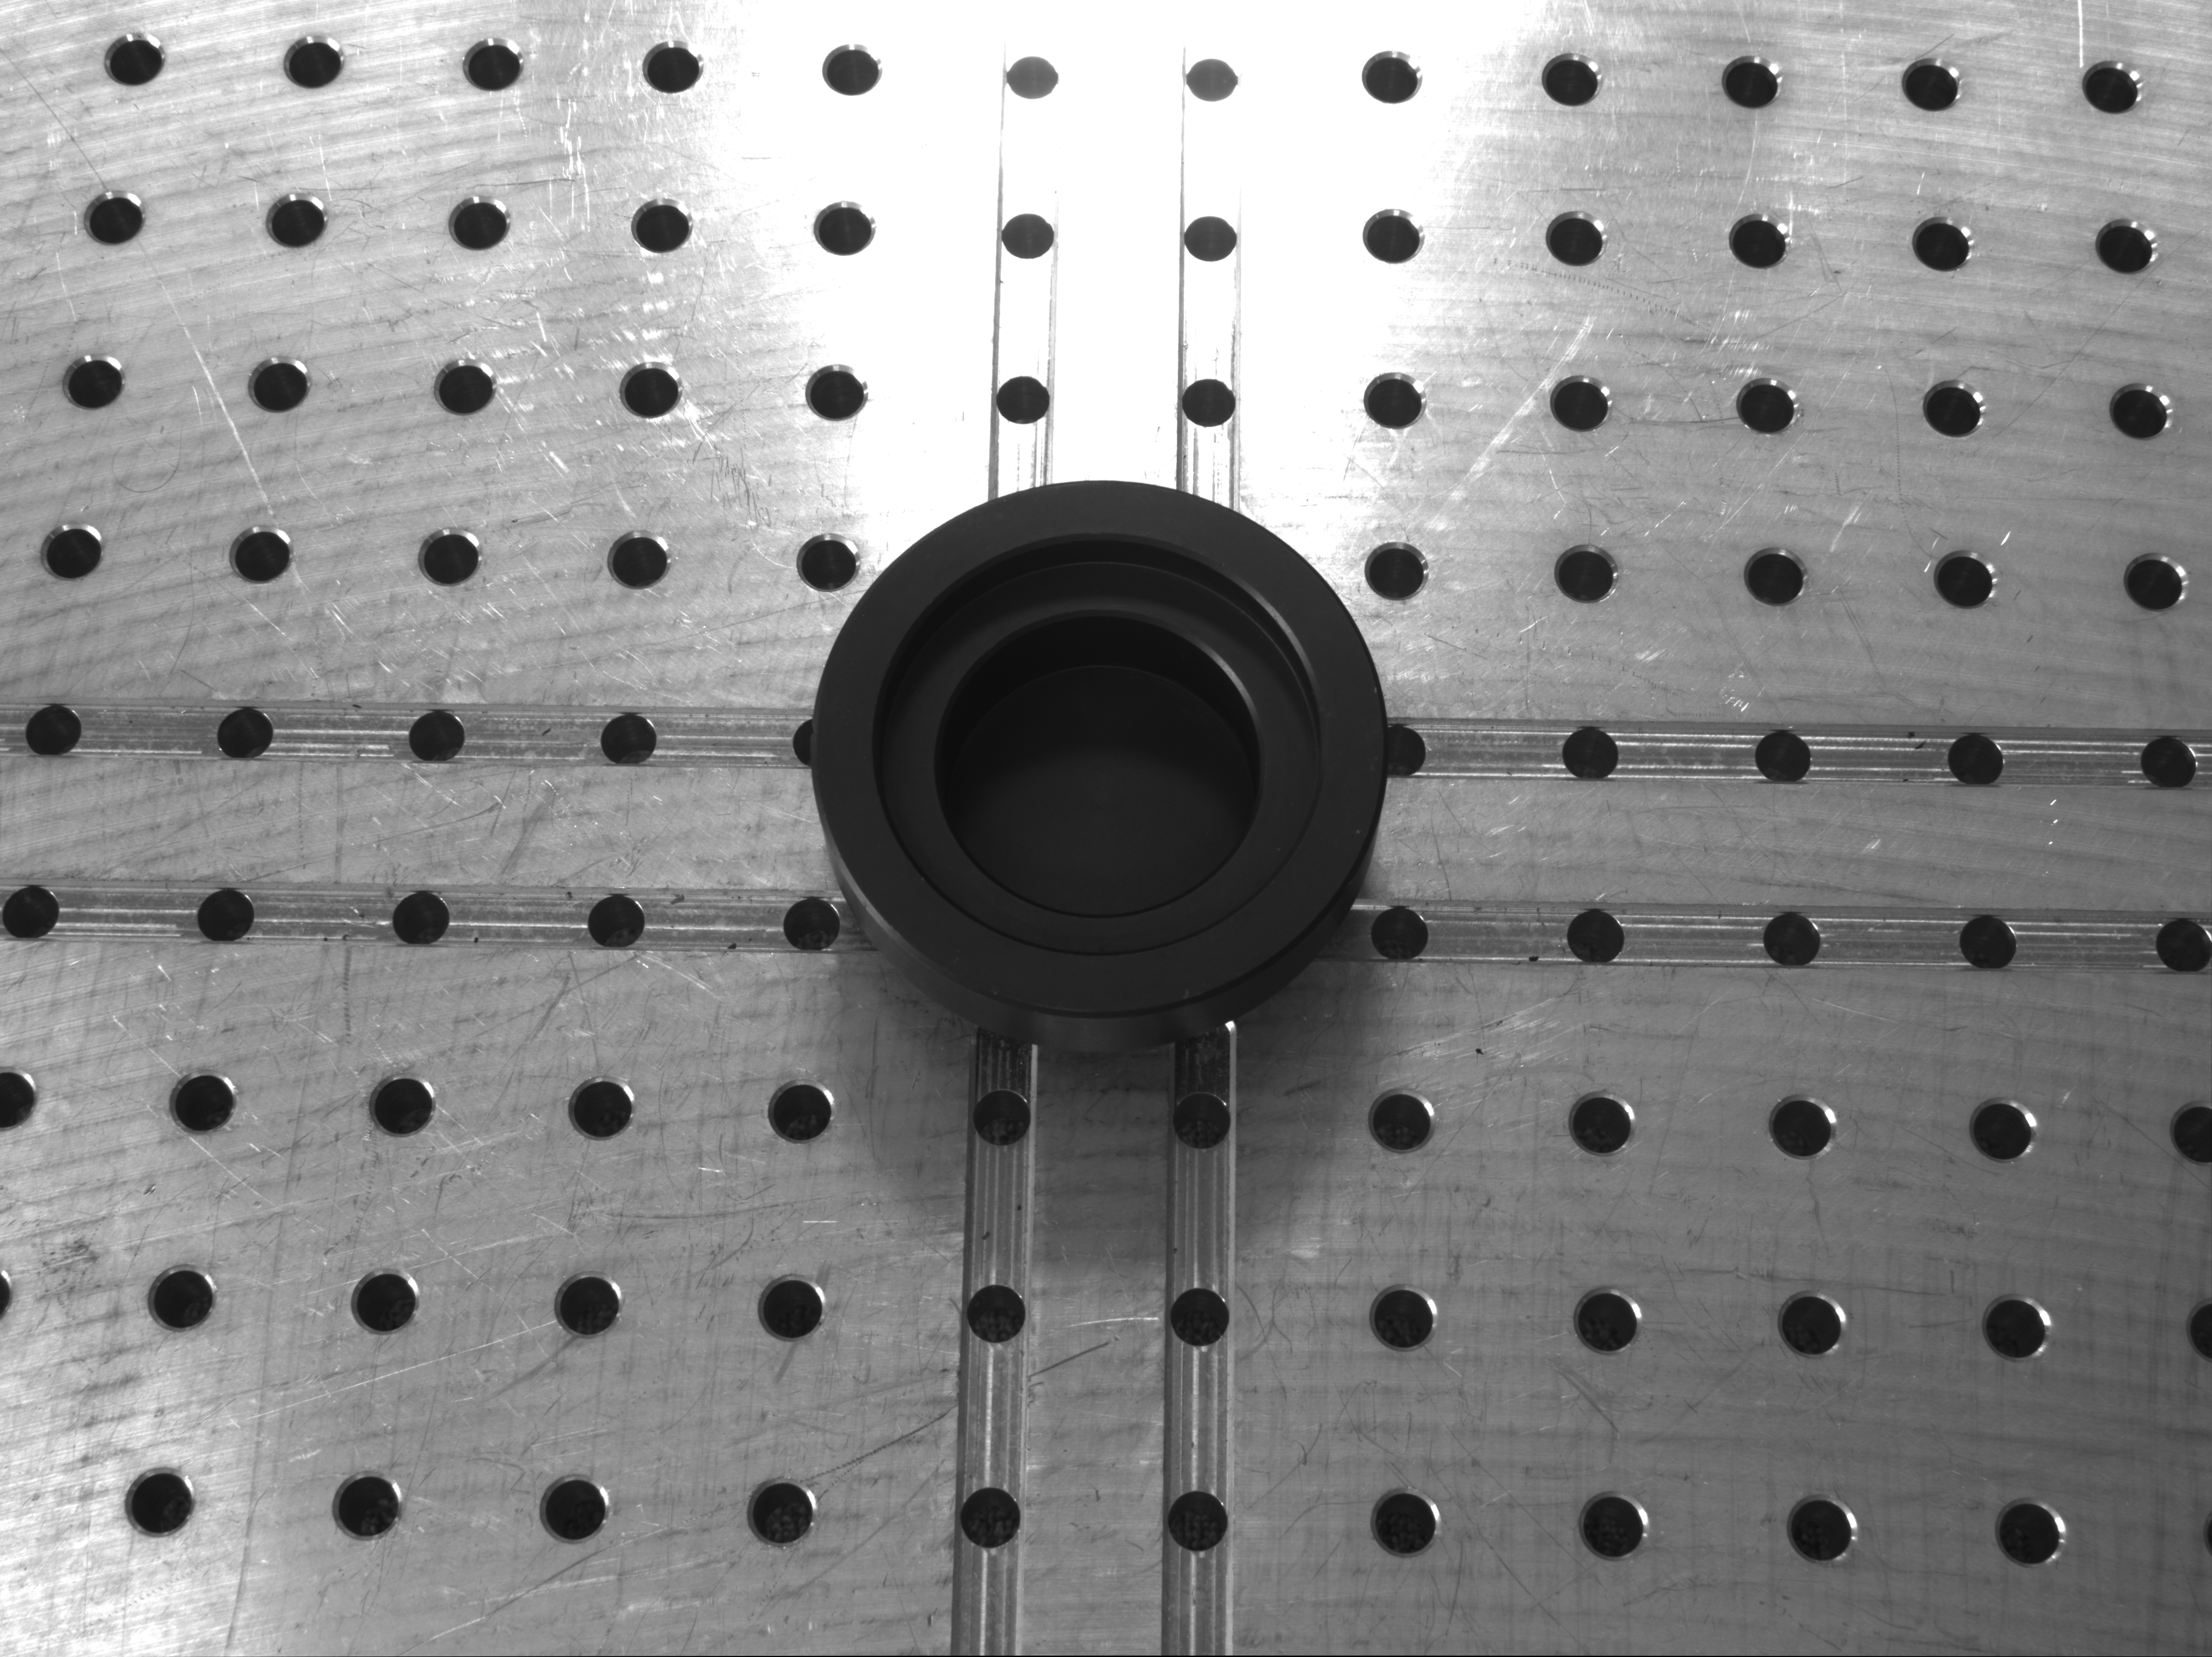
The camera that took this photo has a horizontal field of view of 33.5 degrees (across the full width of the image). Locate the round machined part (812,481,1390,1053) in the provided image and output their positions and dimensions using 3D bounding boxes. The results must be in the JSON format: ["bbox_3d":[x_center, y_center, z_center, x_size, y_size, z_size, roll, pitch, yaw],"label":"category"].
[{"bbox_3d":[-0.001,-0.008,0.641,0.098,0.042,0.098,0,70,0],"label":"round machined part"}]
